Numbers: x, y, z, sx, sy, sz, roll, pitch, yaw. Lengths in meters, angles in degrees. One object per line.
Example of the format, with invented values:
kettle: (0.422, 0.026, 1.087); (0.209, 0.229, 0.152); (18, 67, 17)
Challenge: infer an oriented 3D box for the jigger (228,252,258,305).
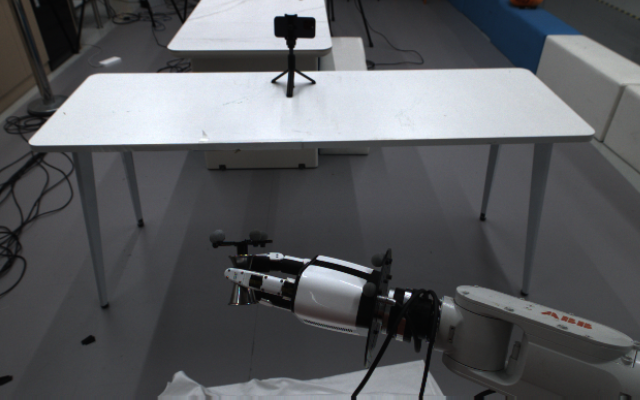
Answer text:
jigger: (-0.109, 0.111, 0.680); (0.043, 0.071, 0.043); (-2, -7, 0)
